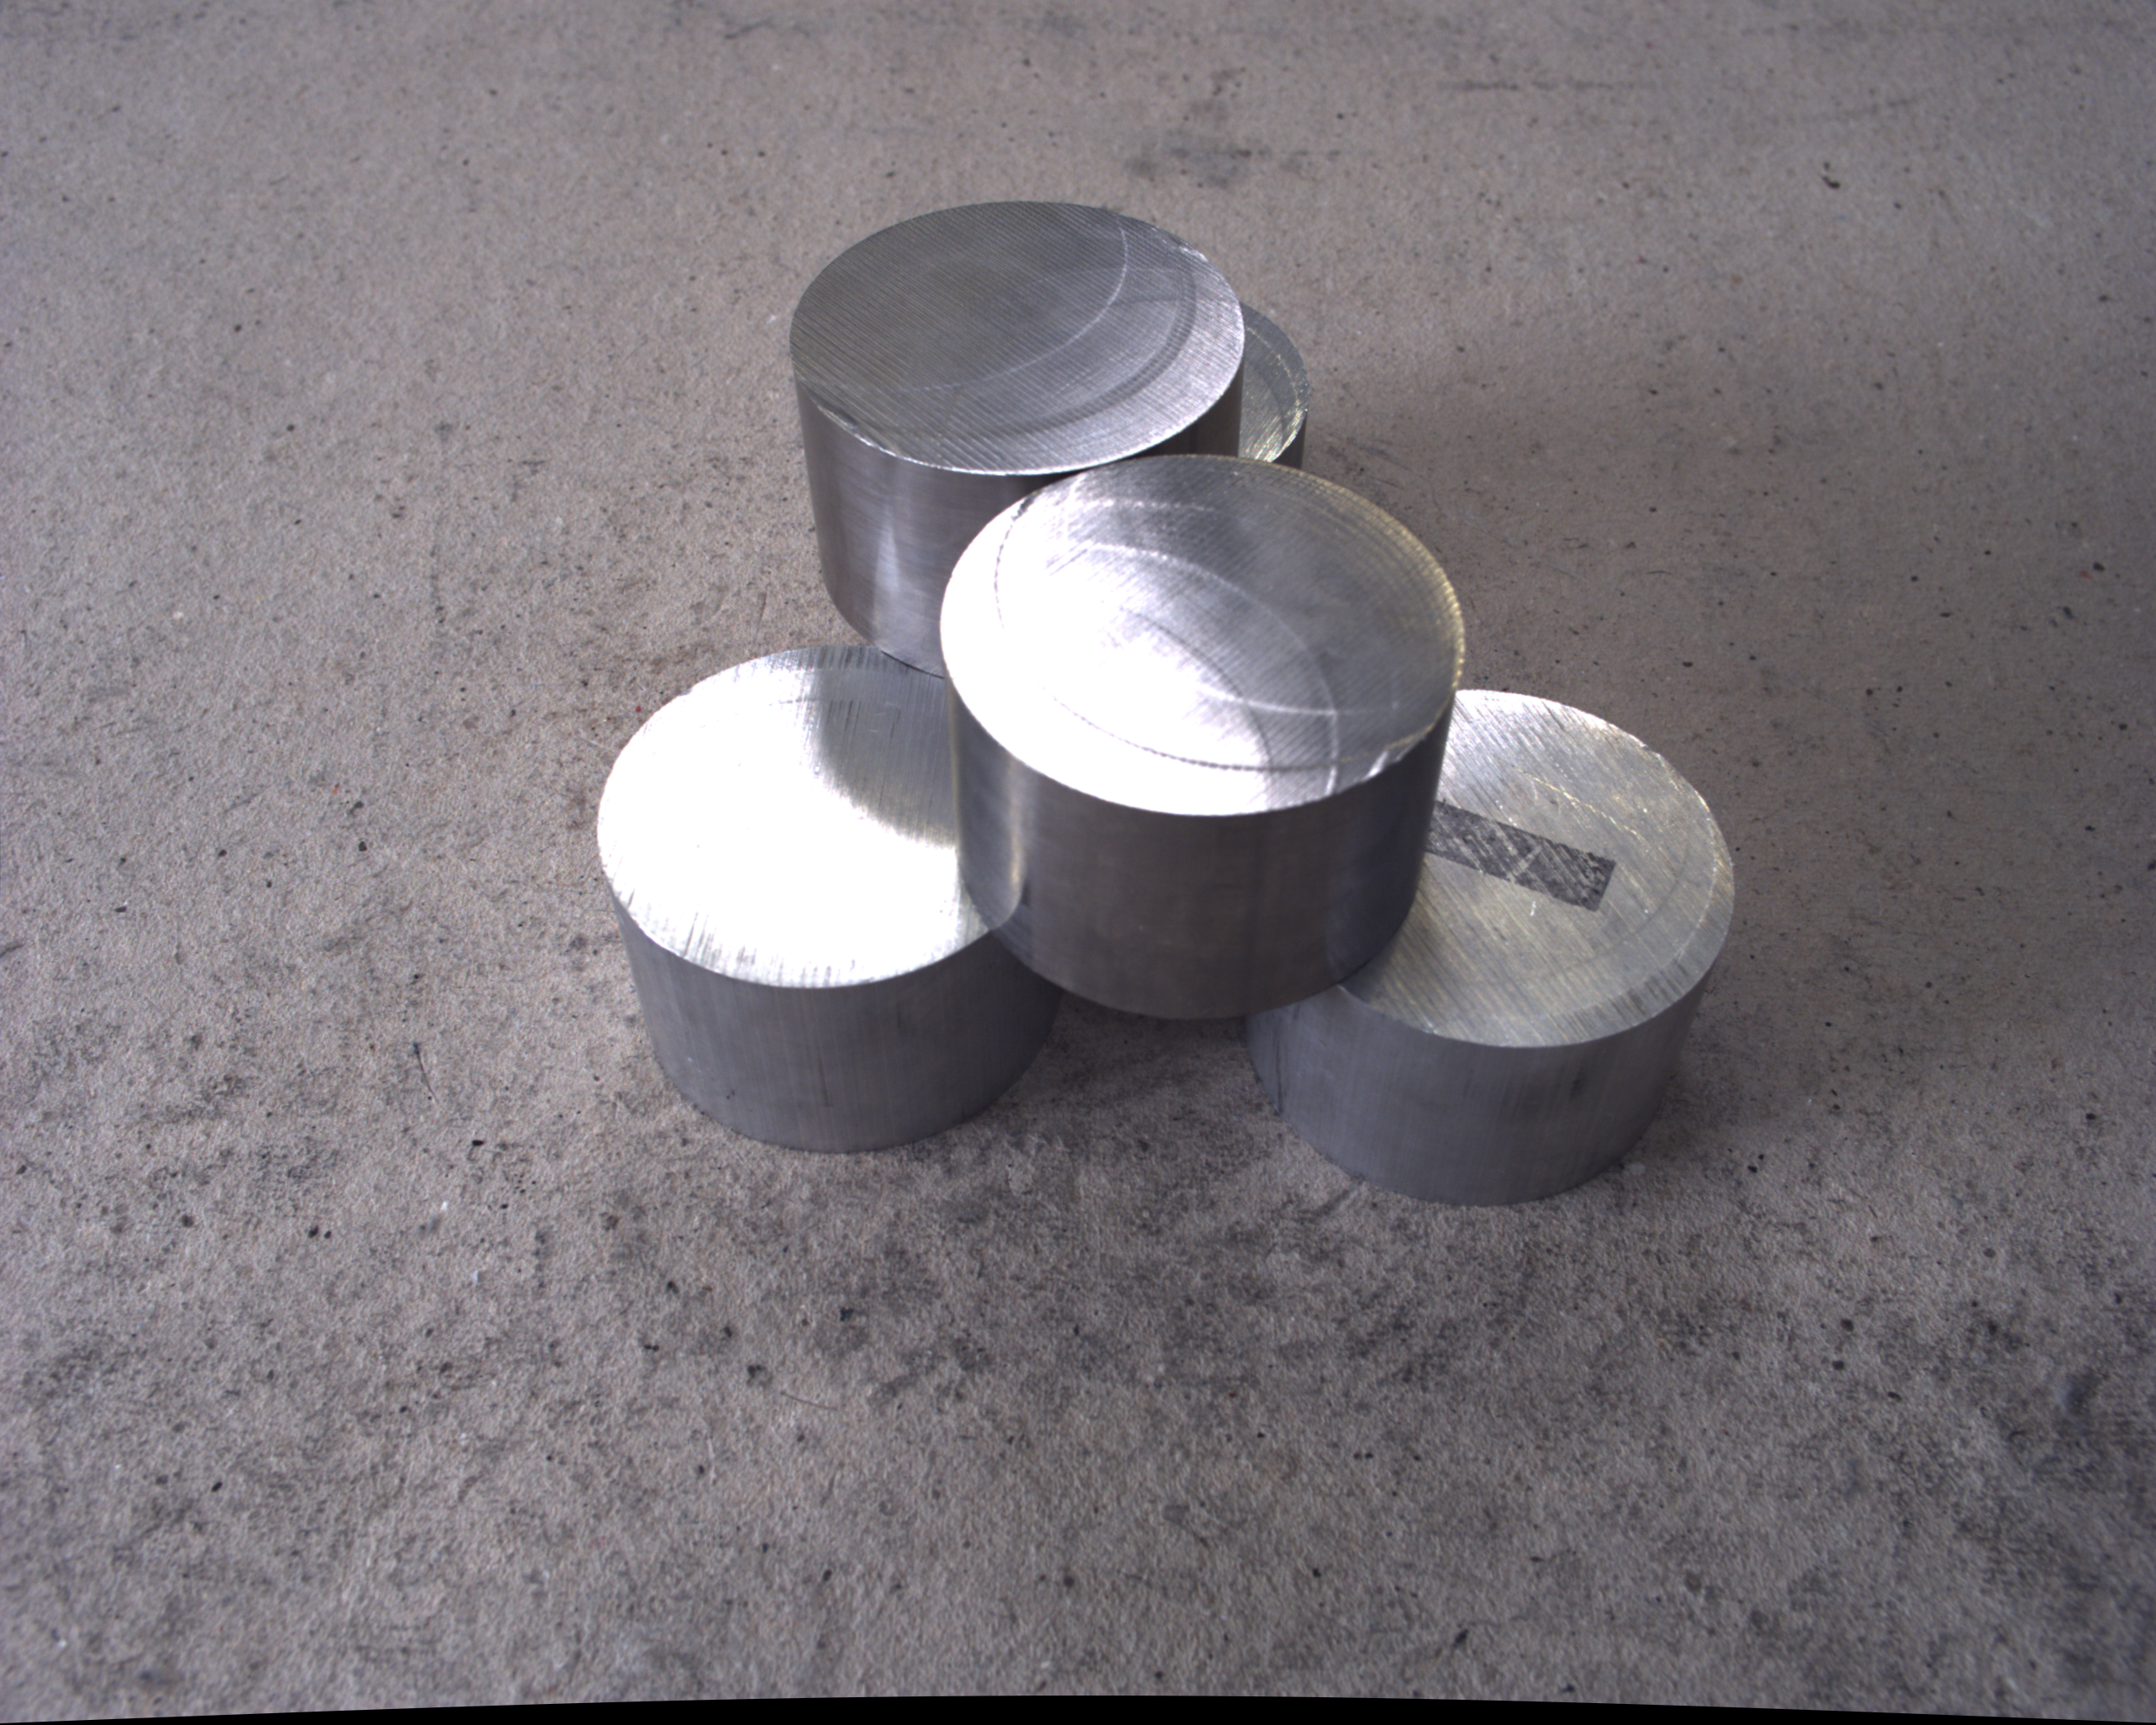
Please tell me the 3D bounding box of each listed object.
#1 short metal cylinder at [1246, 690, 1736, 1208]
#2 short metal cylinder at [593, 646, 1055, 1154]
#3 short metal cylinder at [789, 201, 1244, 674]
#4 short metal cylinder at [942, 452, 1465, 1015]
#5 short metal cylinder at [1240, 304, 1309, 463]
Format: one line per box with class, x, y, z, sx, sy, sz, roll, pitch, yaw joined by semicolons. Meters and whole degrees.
short metal cylinder;0.072;0.015;0.376;0.080;0.050;0.080;0;50;0
short metal cylinder;-0.044;0.006;0.383;0.080;0.050;0.080;0;50;0
short metal cylinder;-0.011;-0.079;0.389;0.080;0.050;0.080;0;50;0
short metal cylinder;0.019;-0.022;0.341;0.081;0.050;0.080;1;50;0
short metal cylinder;0.009;-0.085;0.460;0.080;0.050;0.080;0;50;0
